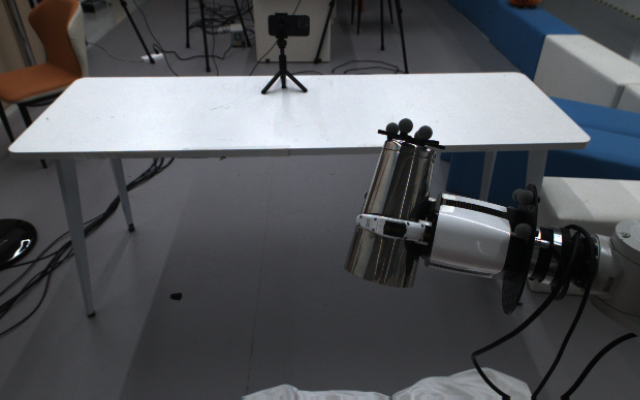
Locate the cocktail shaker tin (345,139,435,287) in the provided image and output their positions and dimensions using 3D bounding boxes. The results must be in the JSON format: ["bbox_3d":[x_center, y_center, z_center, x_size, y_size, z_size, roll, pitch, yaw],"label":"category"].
[{"bbox_3d":[0.096,0.014,0.616,0.093,0.170,0.093,13,4,-1],"label":"cocktail shaker tin"}]
